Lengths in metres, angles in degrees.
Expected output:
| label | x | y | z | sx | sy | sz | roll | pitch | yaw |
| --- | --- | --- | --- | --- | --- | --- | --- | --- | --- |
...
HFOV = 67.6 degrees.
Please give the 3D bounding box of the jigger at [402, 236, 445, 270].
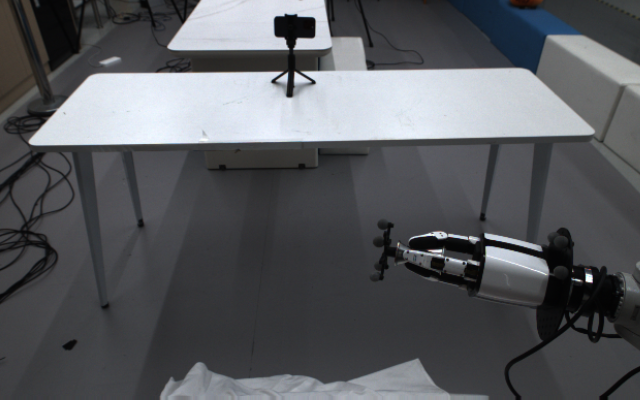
| label | x | y | z | sx | sy | sz | roll | pitch | yaw |
| --- | --- | --- | --- | --- | --- | --- | --- | --- | --- |
| jigger | 0.155 | 0.081 | 0.720 | 0.071 | 0.043 | 0.043 | 8 | 35 | 15 |
